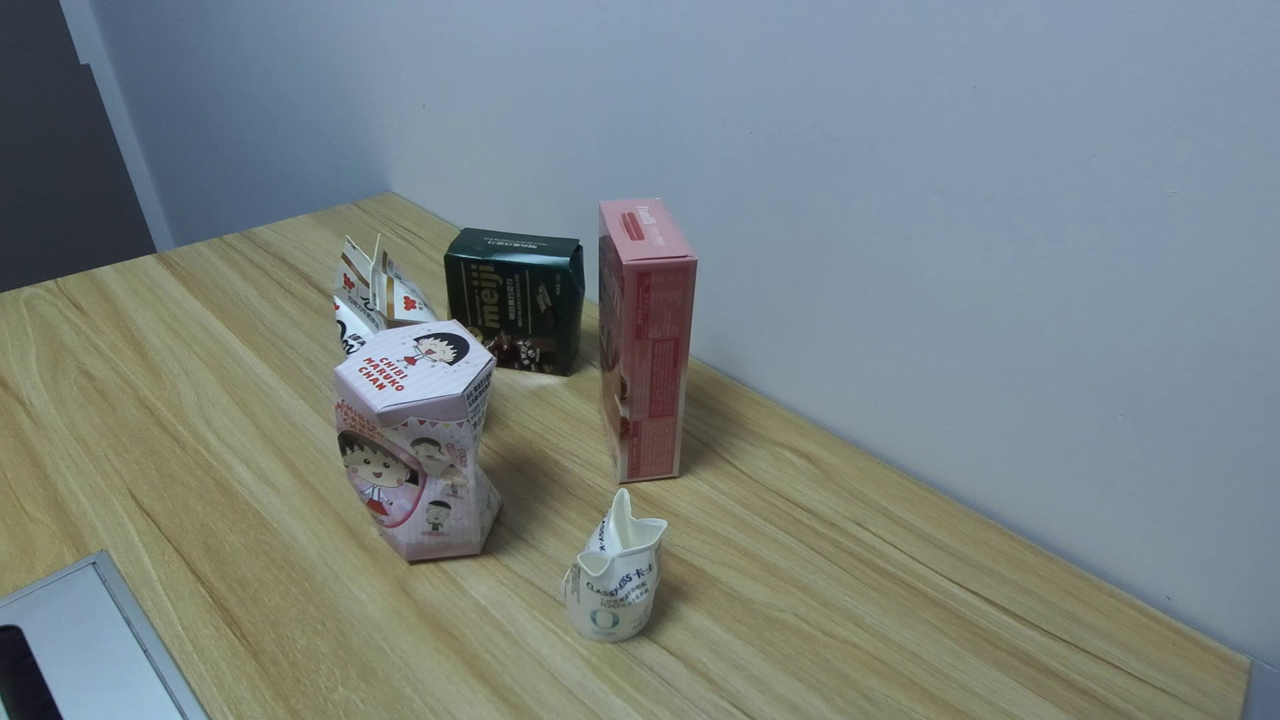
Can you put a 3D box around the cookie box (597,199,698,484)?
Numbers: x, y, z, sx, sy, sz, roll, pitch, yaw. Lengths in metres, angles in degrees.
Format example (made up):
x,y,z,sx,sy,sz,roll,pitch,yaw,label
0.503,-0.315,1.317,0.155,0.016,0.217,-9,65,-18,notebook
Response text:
x,y,z,sx,sy,sz,roll,pitch,yaw,label
0.001,-0.010,0.507,0.048,0.185,0.096,-6,36,-11,cookie box

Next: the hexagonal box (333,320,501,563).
x,y,z,sx,sy,sz,roll,pitch,yaw,label
-0.136,0.053,0.450,0.089,0.135,0.093,7,35,4,hexagonal box

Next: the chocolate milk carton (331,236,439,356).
x,y,z,sx,sy,sz,roll,pitch,yaw,label
-0.179,-0.014,0.520,0.074,0.156,0.076,-16,40,-21,chocolate milk carton

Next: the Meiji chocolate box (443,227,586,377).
x,y,z,sx,sy,sz,roll,pitch,yaw,label
-0.107,-0.053,0.616,0.122,0.116,0.058,9,36,6,Meiji chocolate box

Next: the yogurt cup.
x,y,z,sx,sy,sz,roll,pitch,yaw,label
-0.015,0.124,0.416,0.055,0.072,0.055,-22,45,-31,yogurt cup
